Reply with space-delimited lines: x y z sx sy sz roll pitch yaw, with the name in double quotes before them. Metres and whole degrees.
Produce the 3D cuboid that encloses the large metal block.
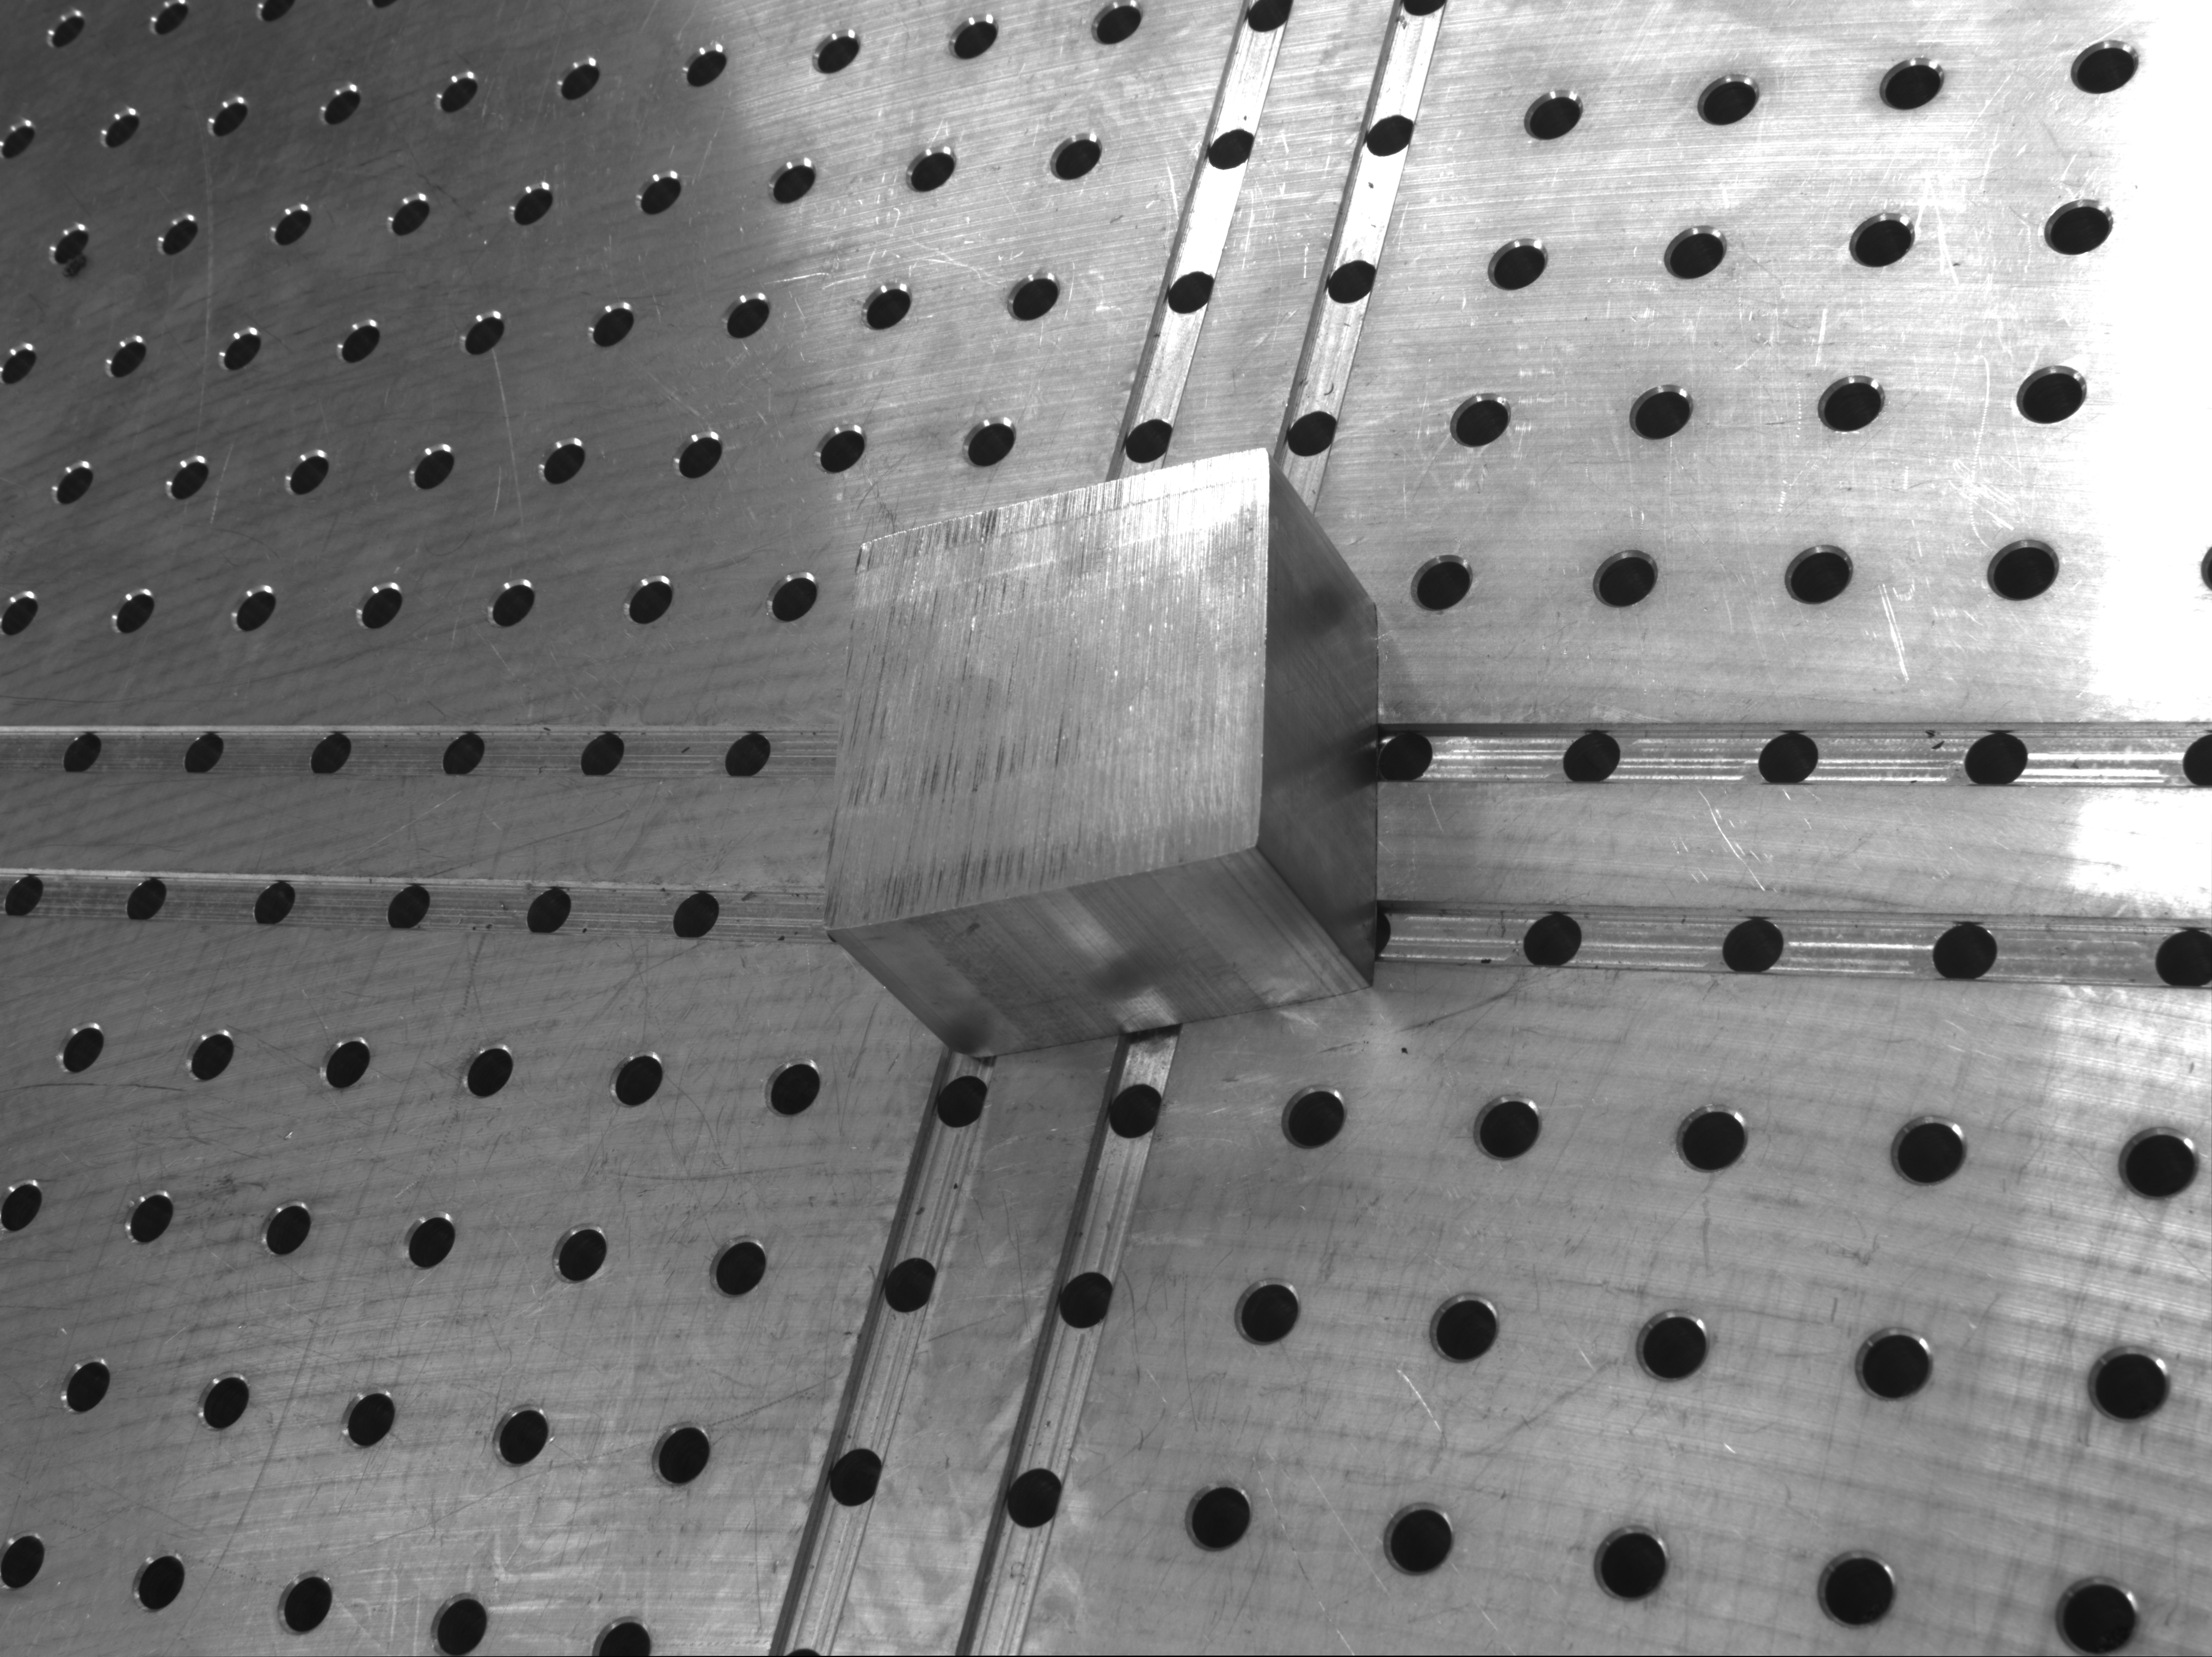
"large metal block" 0.000 -0.012 0.639 0.080 0.050 0.080 -11 57 22
